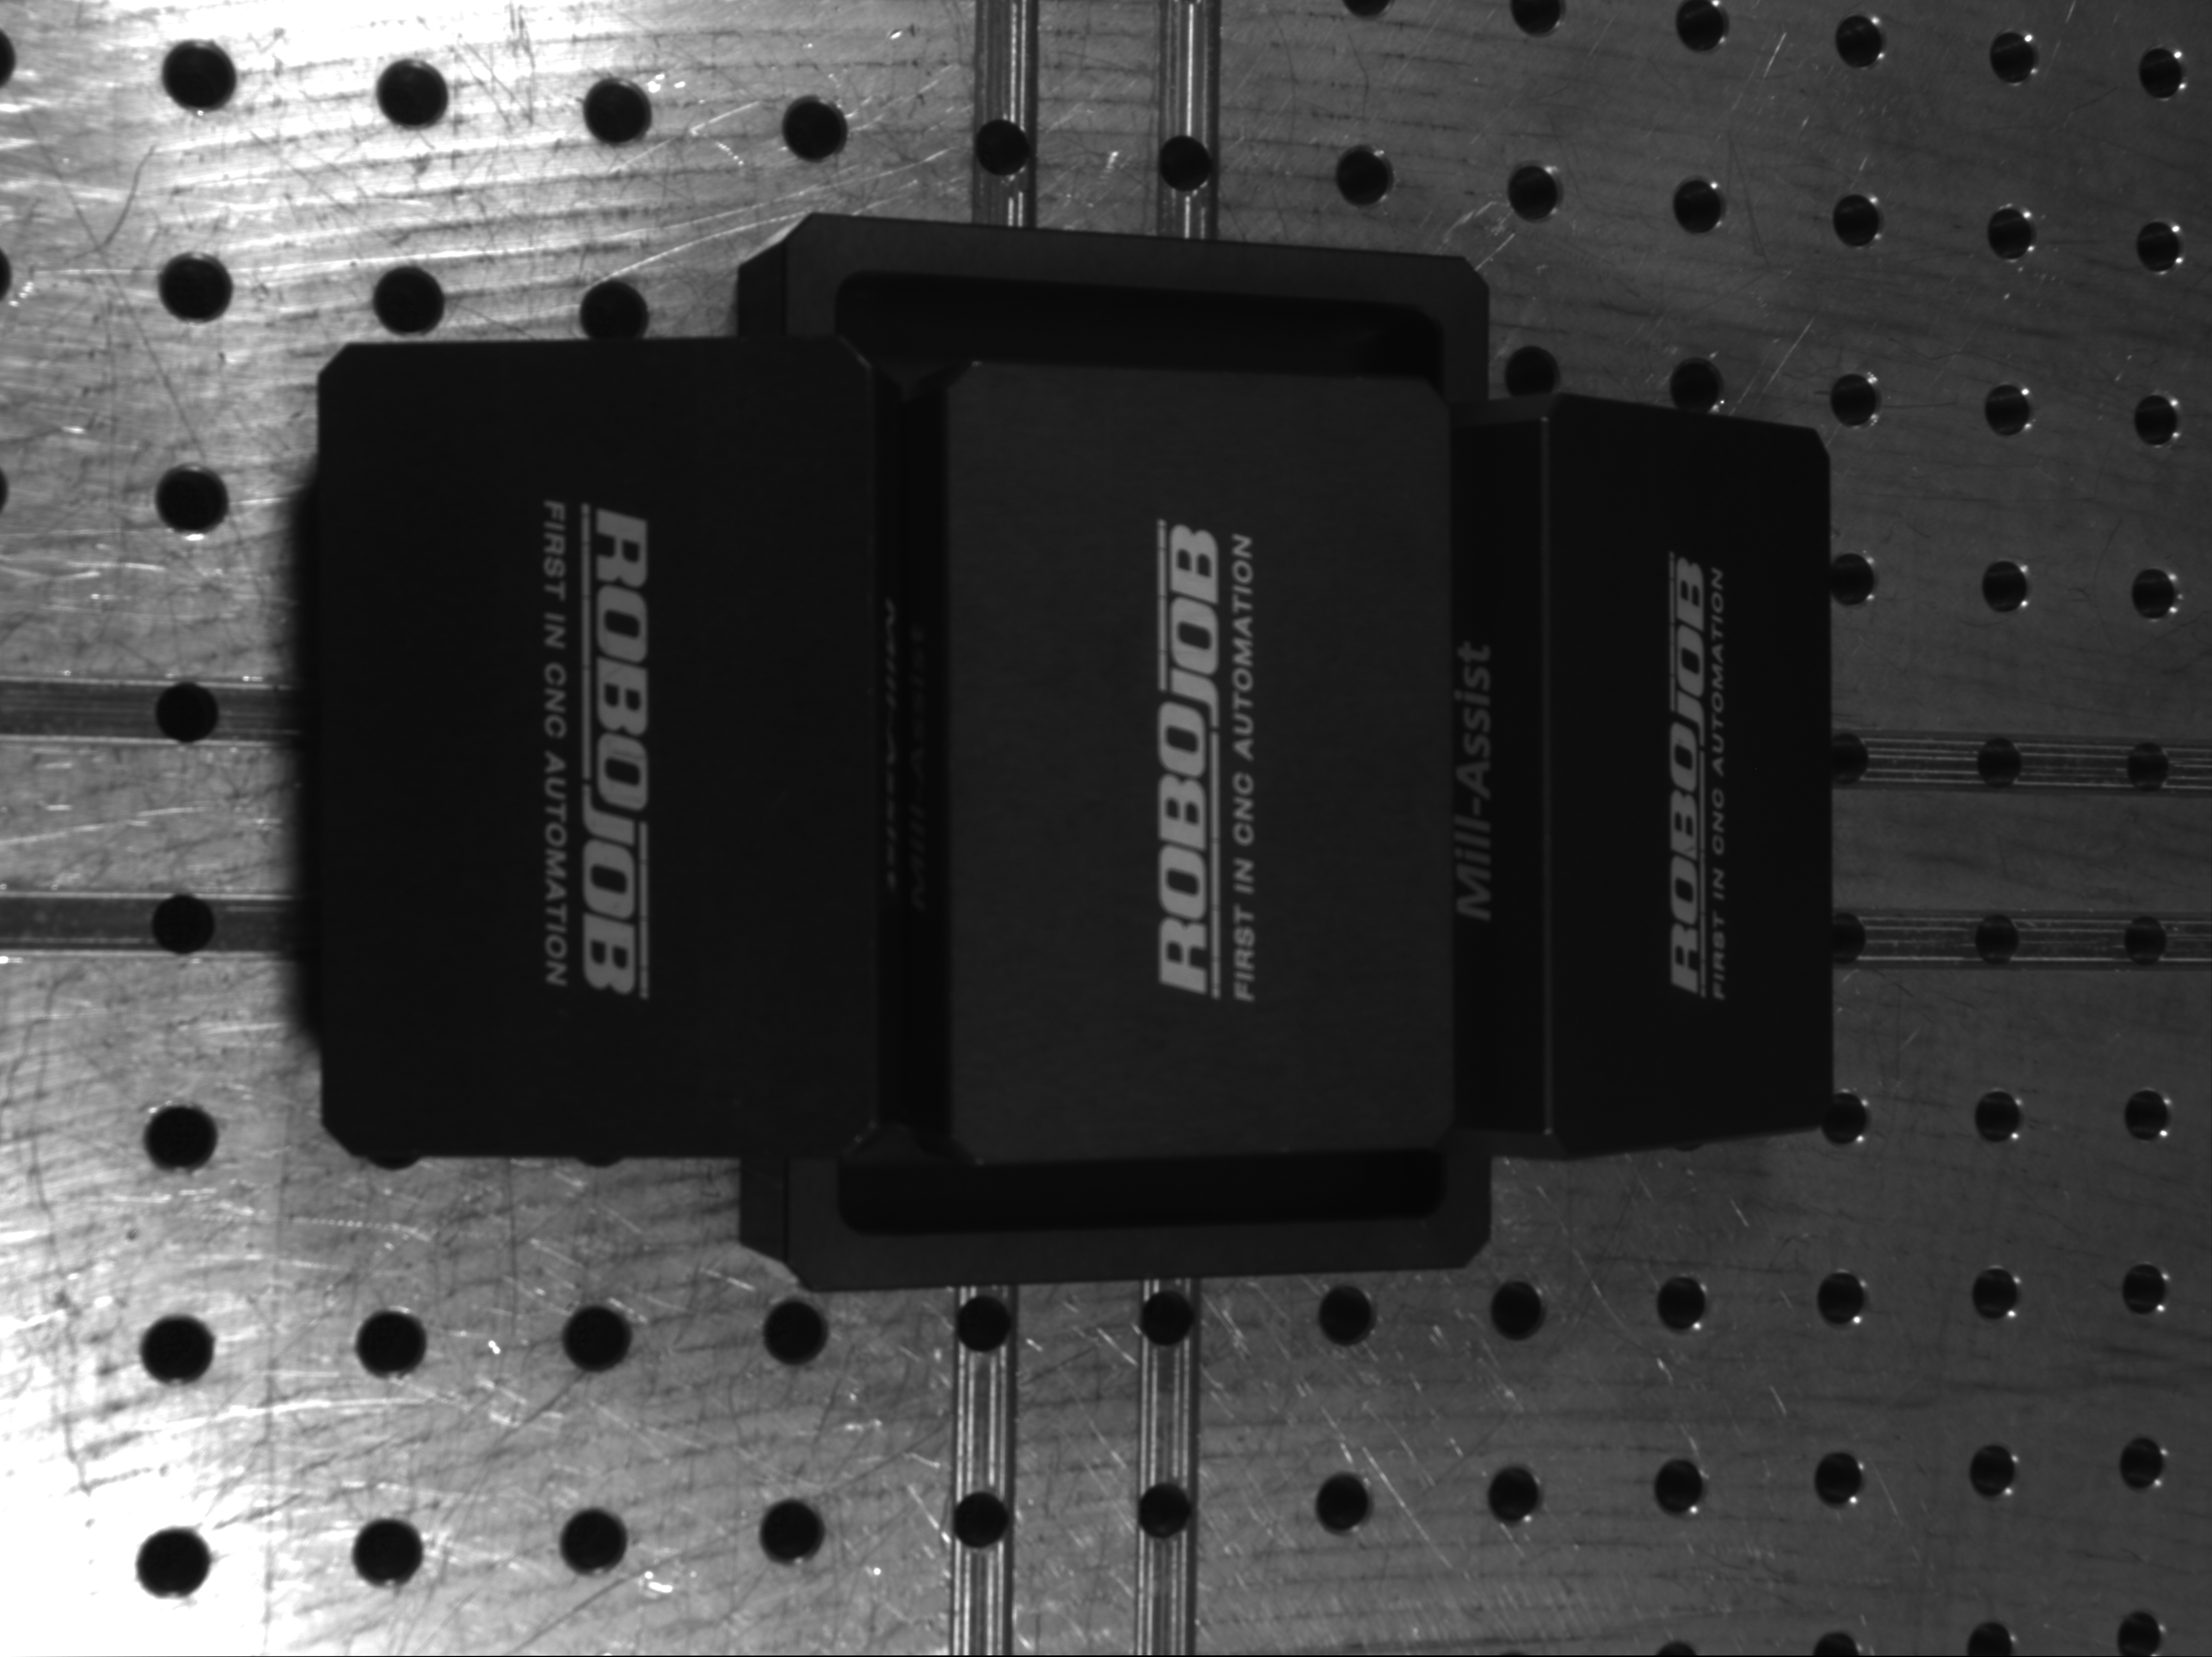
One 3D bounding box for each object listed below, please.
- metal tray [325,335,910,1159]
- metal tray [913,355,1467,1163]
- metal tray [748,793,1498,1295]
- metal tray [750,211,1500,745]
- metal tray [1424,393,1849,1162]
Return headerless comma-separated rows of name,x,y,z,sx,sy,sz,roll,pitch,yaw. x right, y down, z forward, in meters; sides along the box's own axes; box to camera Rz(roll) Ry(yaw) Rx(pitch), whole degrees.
metal tray,-0.079,-0.013,0.596,0.090,0.030,0.130,0,90,6
metal tray,0.014,-0.011,0.616,0.090,0.030,0.130,0,90,-20
metal tray,0.004,0.033,0.645,0.130,0.030,0.090,1,90,-20
metal tray,0.004,-0.057,0.644,0.130,0.030,0.090,1,90,-20
metal tray,0.097,-0.009,0.658,0.090,0.030,0.130,-1,90,-47
